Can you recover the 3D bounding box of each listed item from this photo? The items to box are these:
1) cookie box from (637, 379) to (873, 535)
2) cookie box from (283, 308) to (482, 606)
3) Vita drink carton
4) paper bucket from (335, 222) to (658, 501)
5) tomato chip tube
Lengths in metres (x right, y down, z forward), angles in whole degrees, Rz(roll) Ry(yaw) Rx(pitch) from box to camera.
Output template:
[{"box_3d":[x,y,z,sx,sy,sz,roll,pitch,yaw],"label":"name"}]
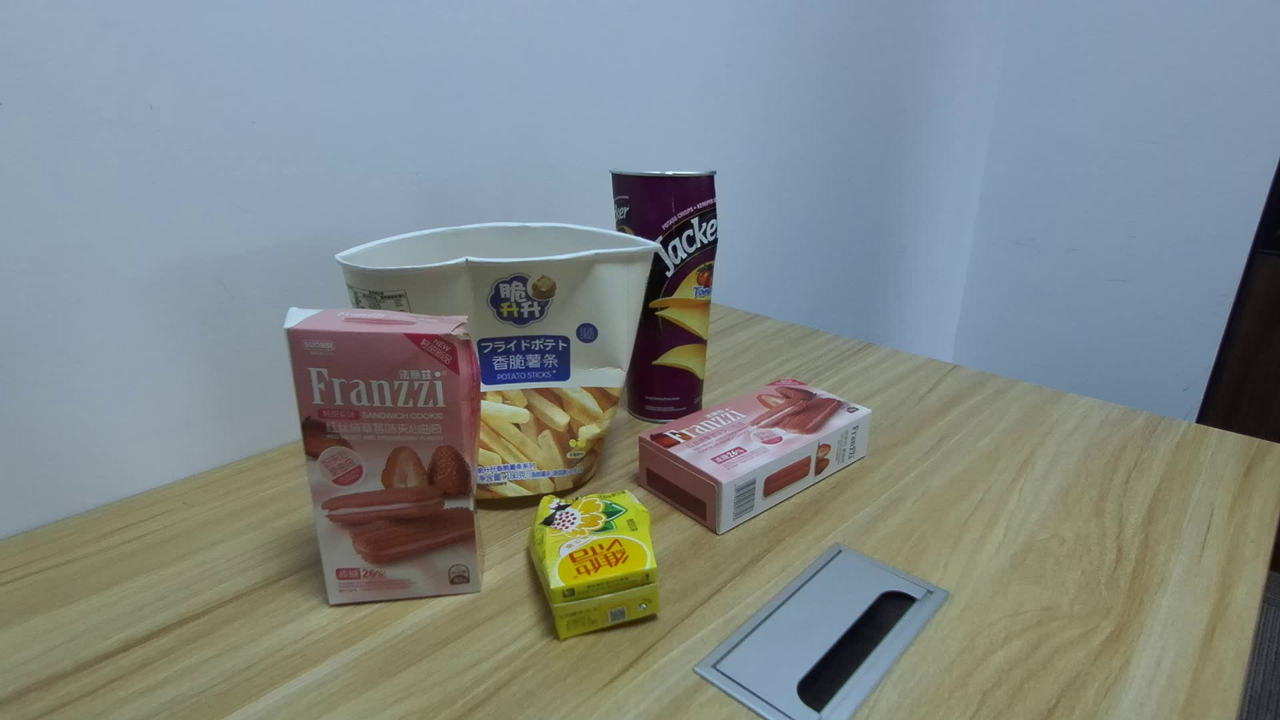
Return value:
[{"box_3d":[0.098,0.072,0.590,0.185,0.048,0.095,-17,27,-36],"label":"cookie box"},{"box_3d":[-0.151,0.061,0.440,0.118,0.184,0.055,-1,21,-3],"label":"cookie box"},{"box_3d":[-0.030,0.128,0.462,0.087,0.042,0.108,-10,19,-8],"label":"Vita drink carton"},{"box_3d":[-0.103,-0.002,0.577,0.219,0.199,0.147,-18,28,-35],"label":"paper bucket"},{"box_3d":[0.024,-0.060,0.675,0.076,0.235,0.077,-14,23,-31],"label":"tomato chip tube"}]
